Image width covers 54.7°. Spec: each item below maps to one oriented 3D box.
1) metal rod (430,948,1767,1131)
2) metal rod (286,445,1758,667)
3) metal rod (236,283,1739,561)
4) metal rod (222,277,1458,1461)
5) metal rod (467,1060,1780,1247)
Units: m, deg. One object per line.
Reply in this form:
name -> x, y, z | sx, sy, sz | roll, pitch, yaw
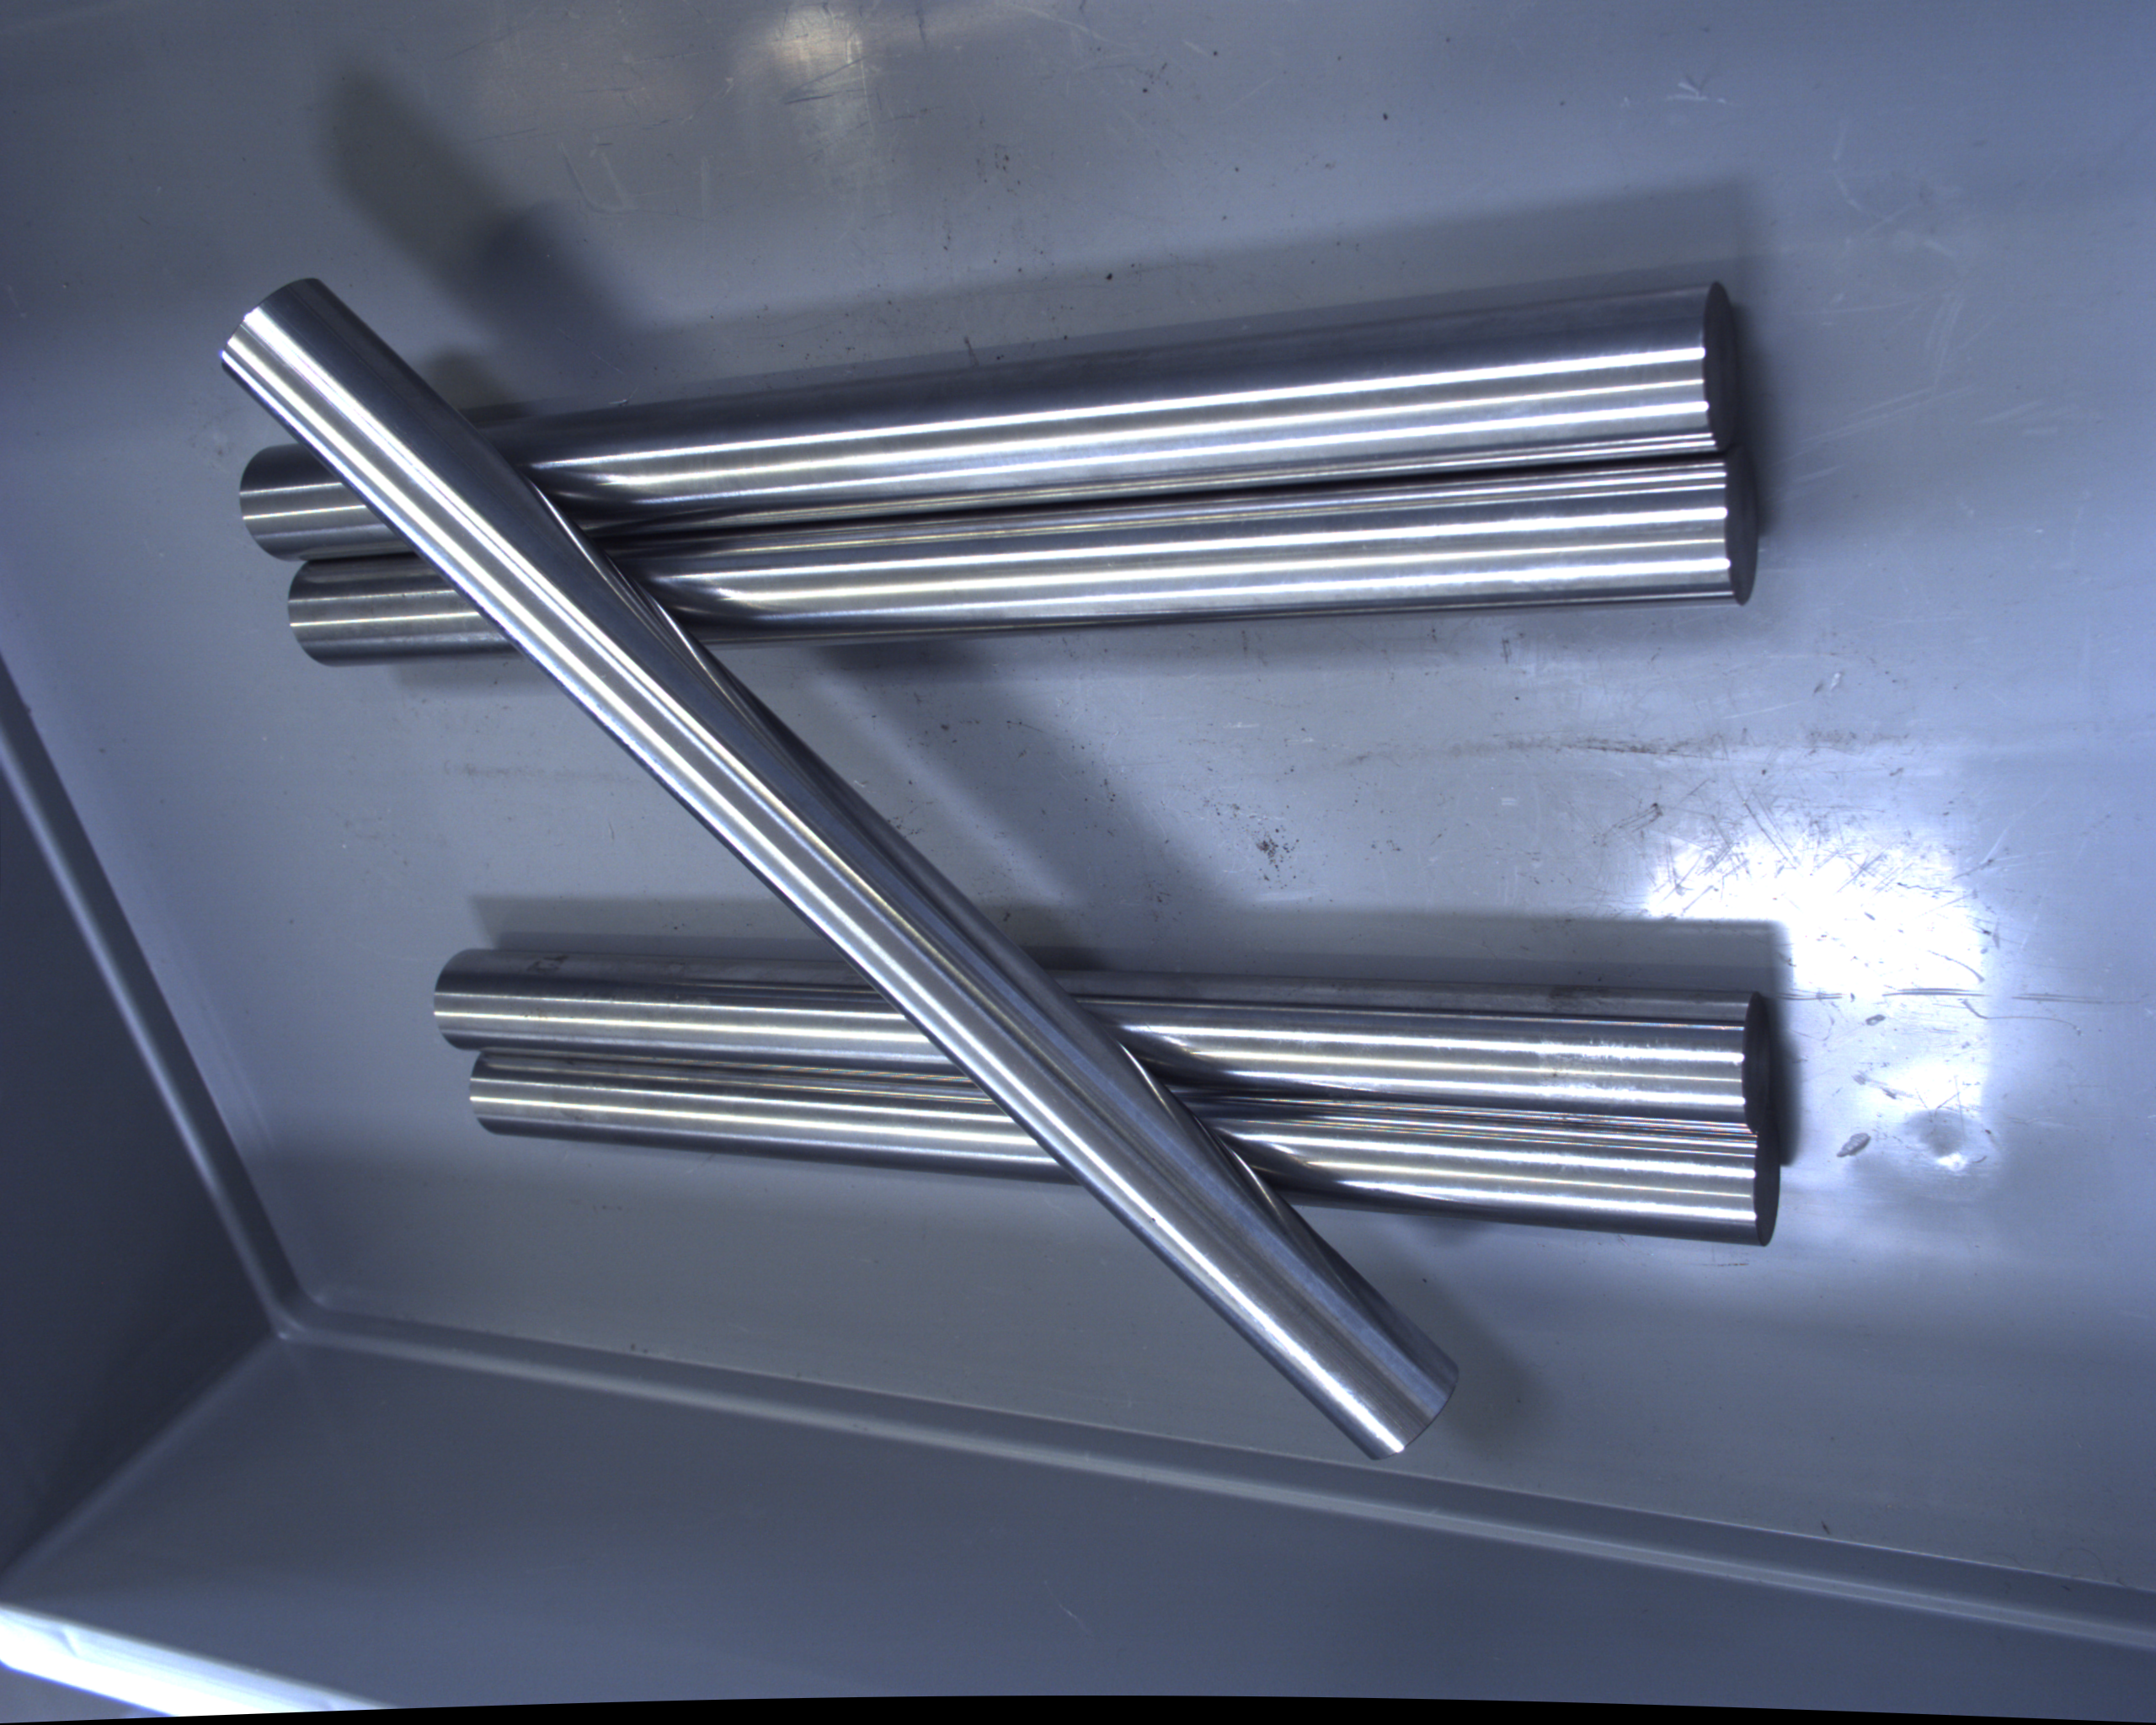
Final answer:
metal rod -> -0.014, 0.034, 0.435 | 0.300, 0.025, 0.025 | 0, 119, 28
metal rod -> -0.031, -0.053, 0.390 | 0.300, 0.025, 0.025 | 1, 119, 27
metal rod -> -0.037, -0.075, 0.379 | 0.300, 0.025, 0.025 | 1, 119, 27
metal rod -> -0.043, 0.003, 0.400 | 0.300, 0.025, 0.025 | 44, 129, -3
metal rod -> -0.009, 0.056, 0.445 | 0.300, 0.025, 0.025 | 0, 119, 28
